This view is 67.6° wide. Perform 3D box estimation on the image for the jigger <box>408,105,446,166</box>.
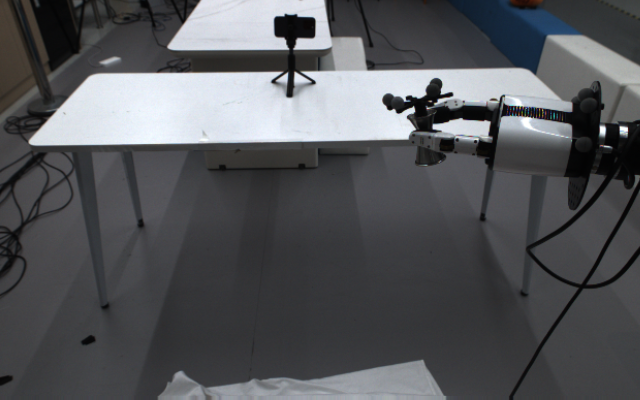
[{"bbox_3d":[0.146,-0.086,0.664,0.043,0.071,0.043,-14,21,6],"label":"jigger"}]
